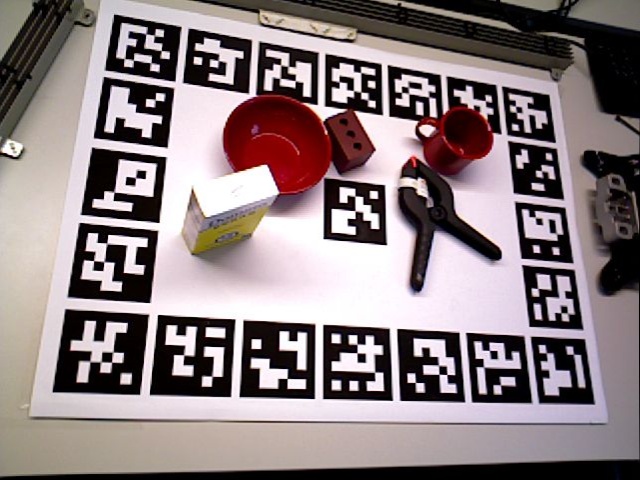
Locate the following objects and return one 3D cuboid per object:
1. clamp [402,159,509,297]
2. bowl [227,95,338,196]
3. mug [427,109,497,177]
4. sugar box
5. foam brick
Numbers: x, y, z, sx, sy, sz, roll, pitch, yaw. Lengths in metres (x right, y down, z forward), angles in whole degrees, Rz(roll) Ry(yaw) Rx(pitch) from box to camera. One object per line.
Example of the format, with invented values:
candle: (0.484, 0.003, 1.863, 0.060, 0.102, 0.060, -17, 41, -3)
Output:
clamp: (0.183, -0.032, 0.830, 0.163, 0.037, 0.202, -18, 81, -17)
bowl: (-0.058, -0.130, 0.789, 0.160, 0.056, 0.160, 4, 73, -15)
mug: (0.221, -0.157, 0.856, 0.117, 0.083, 0.092, 31, 68, -8)
sugar box: (-0.114, -0.029, 0.679, 0.091, 0.179, 0.045, -20, 81, -22)
foam brick: (0.052, -0.142, 0.831, 0.052, 0.052, 0.078, -22, 82, -20)
